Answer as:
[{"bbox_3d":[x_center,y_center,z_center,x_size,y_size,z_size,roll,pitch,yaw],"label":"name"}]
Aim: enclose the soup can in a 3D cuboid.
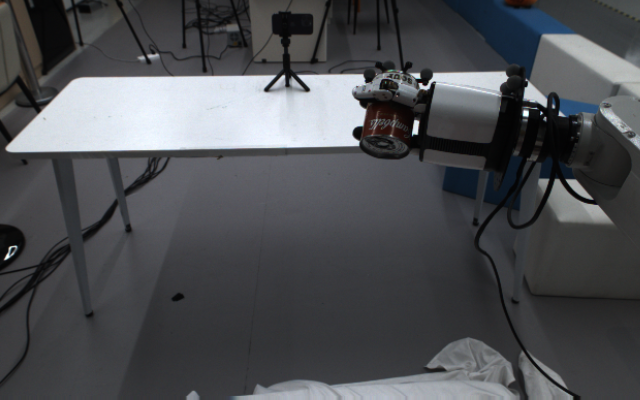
[{"bbox_3d":[0.096,-0.115,0.652,0.067,0.067,0.101,9,70,9],"label":"soup can"}]
